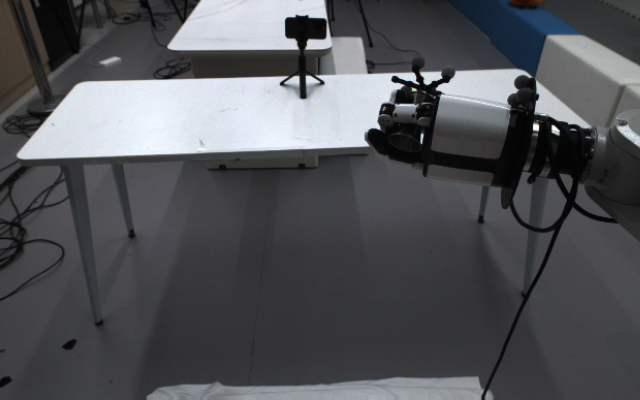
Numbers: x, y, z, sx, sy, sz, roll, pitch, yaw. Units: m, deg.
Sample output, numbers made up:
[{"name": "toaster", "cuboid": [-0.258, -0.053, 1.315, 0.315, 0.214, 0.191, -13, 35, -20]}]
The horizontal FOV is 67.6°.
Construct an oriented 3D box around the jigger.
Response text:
[{"name": "jigger", "cuboid": [0.119, -0.104, 0.621, 0.043, 0.043, 0.071, 16, 70, 19]}]
